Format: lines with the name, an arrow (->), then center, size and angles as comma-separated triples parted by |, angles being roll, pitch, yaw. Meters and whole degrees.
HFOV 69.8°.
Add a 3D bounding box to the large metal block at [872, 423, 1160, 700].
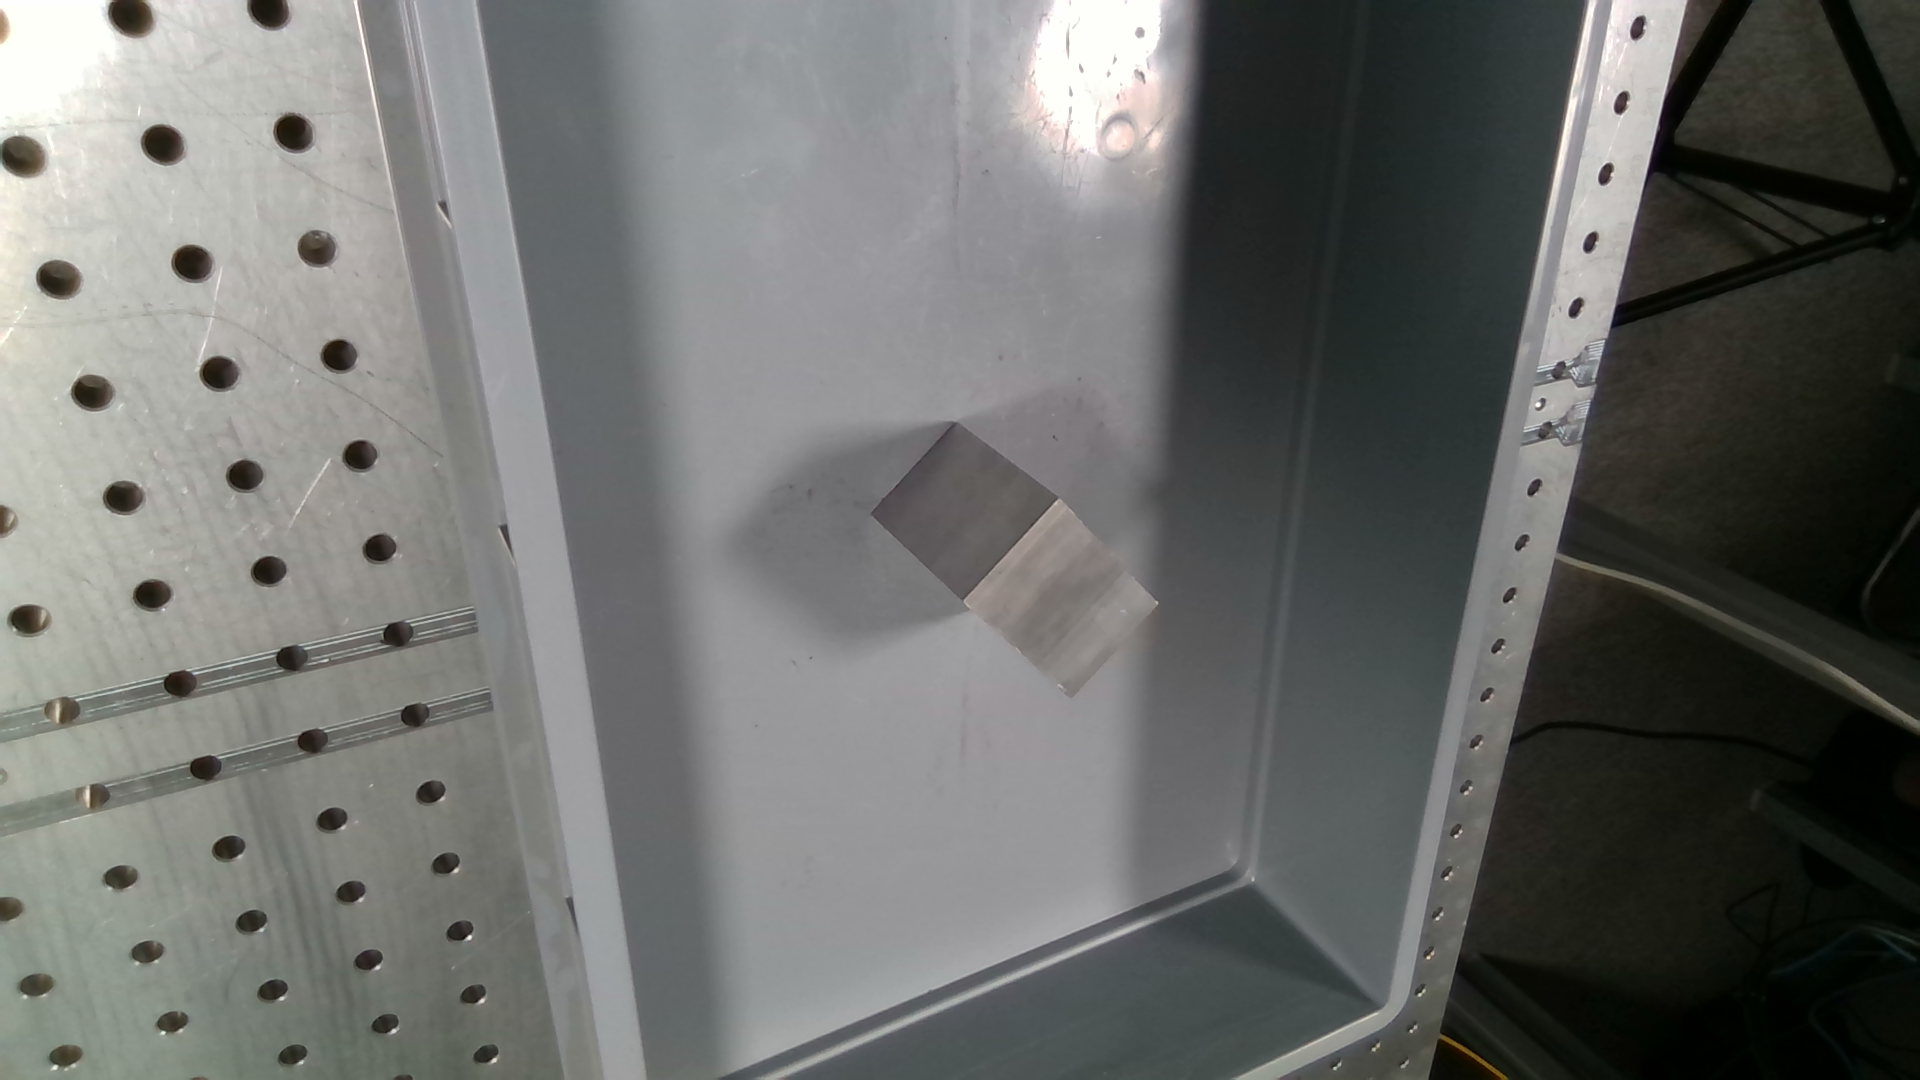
large metal block -> 0.022, 0.008, 0.560 | 0.050, 0.080, 0.080 | -47, 129, -1
